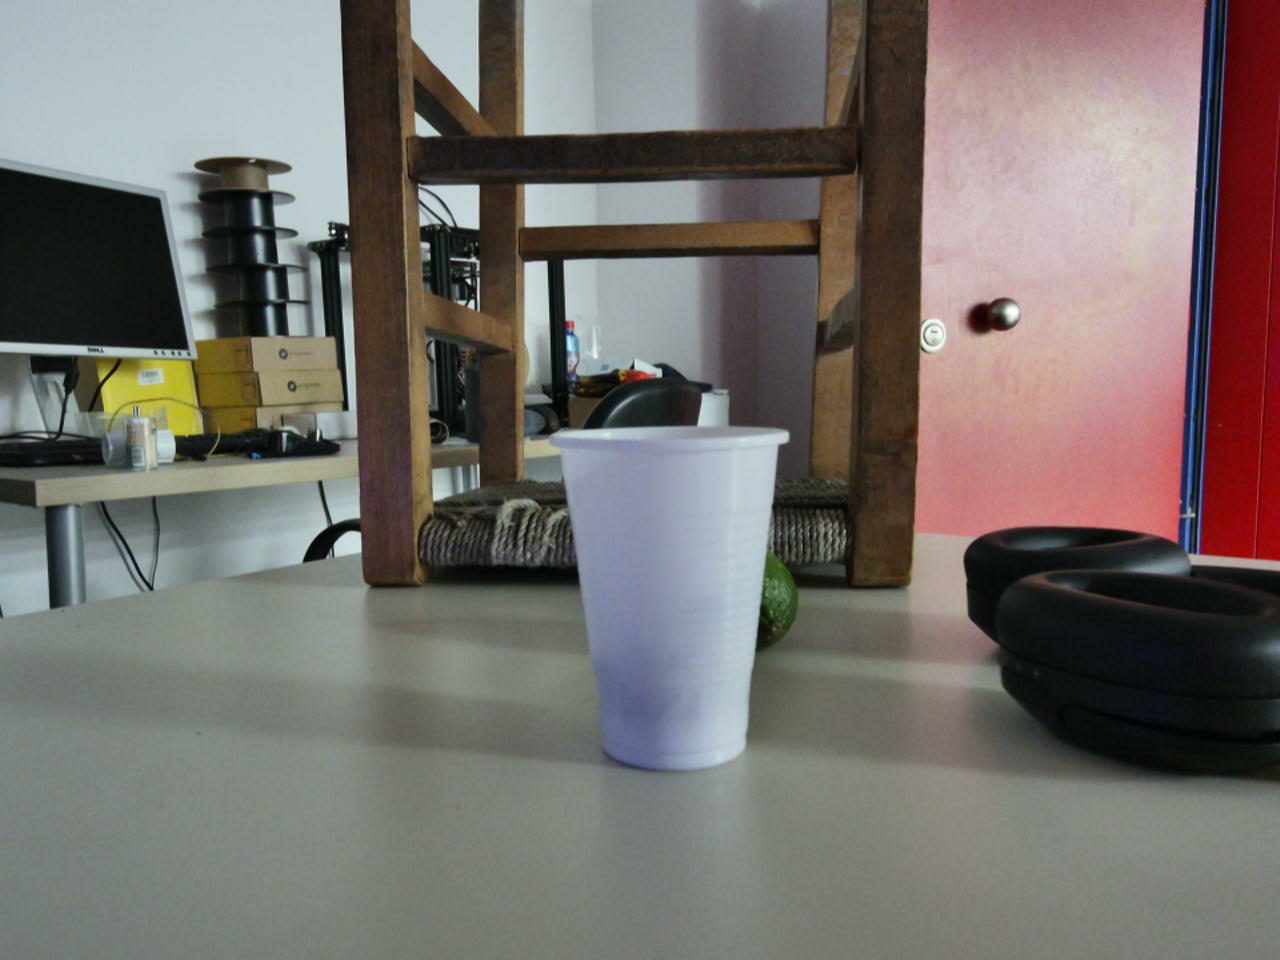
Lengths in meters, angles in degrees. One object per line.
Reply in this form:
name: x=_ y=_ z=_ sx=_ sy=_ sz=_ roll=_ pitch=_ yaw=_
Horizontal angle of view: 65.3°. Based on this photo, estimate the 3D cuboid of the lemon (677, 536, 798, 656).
lemon: x=0.044 y=0.051 z=0.451 sx=0.057 sy=0.051 sz=0.054 roll=2 pitch=4 yaw=34
